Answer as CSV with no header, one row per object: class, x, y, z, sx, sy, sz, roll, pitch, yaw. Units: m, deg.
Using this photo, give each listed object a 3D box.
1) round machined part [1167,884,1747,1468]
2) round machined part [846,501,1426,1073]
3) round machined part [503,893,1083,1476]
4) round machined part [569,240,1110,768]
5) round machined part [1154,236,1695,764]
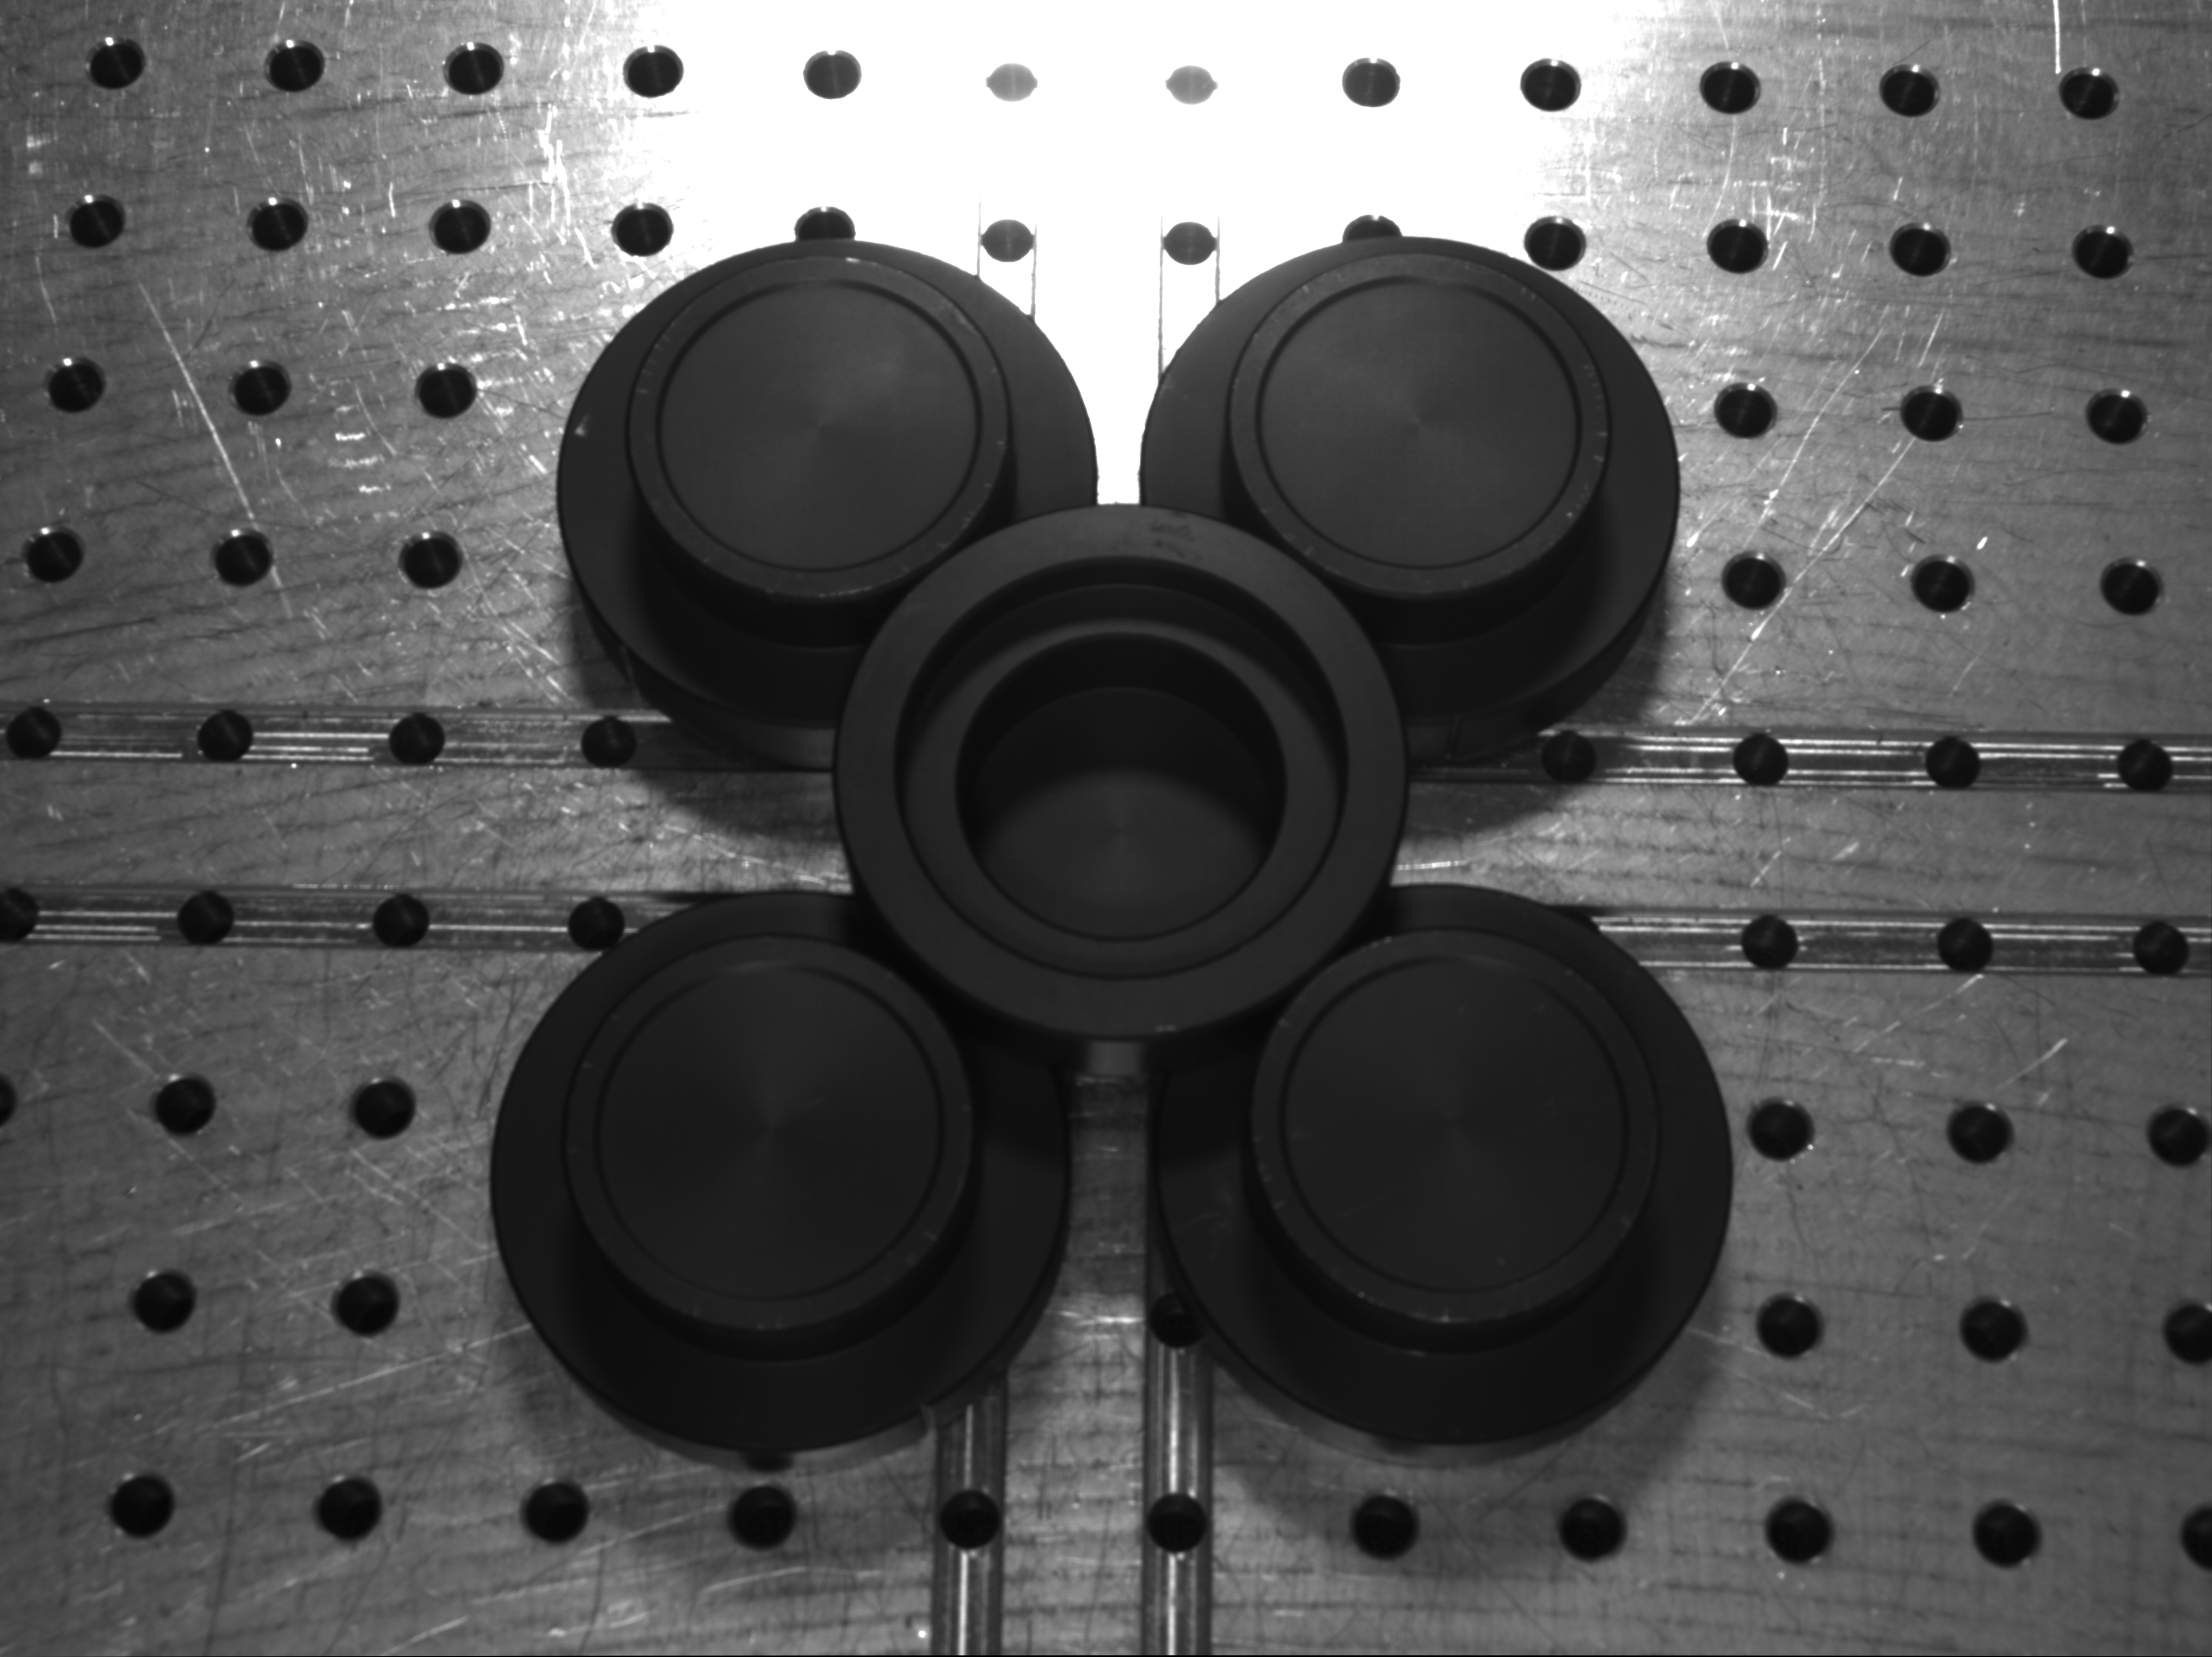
round machined part,0.059,0.055,0.617,0.098,0.042,0.098,0,70,0
round machined part,0.005,-0.004,0.638,0.098,0.042,0.098,0,70,0
round machined part,-0.053,0.057,0.618,0.098,0.042,0.098,0,70,0
round machined part,-0.048,-0.064,0.661,0.098,0.042,0.098,0,70,0
round machined part,0.058,-0.064,0.661,0.098,0.042,0.098,0,70,0
